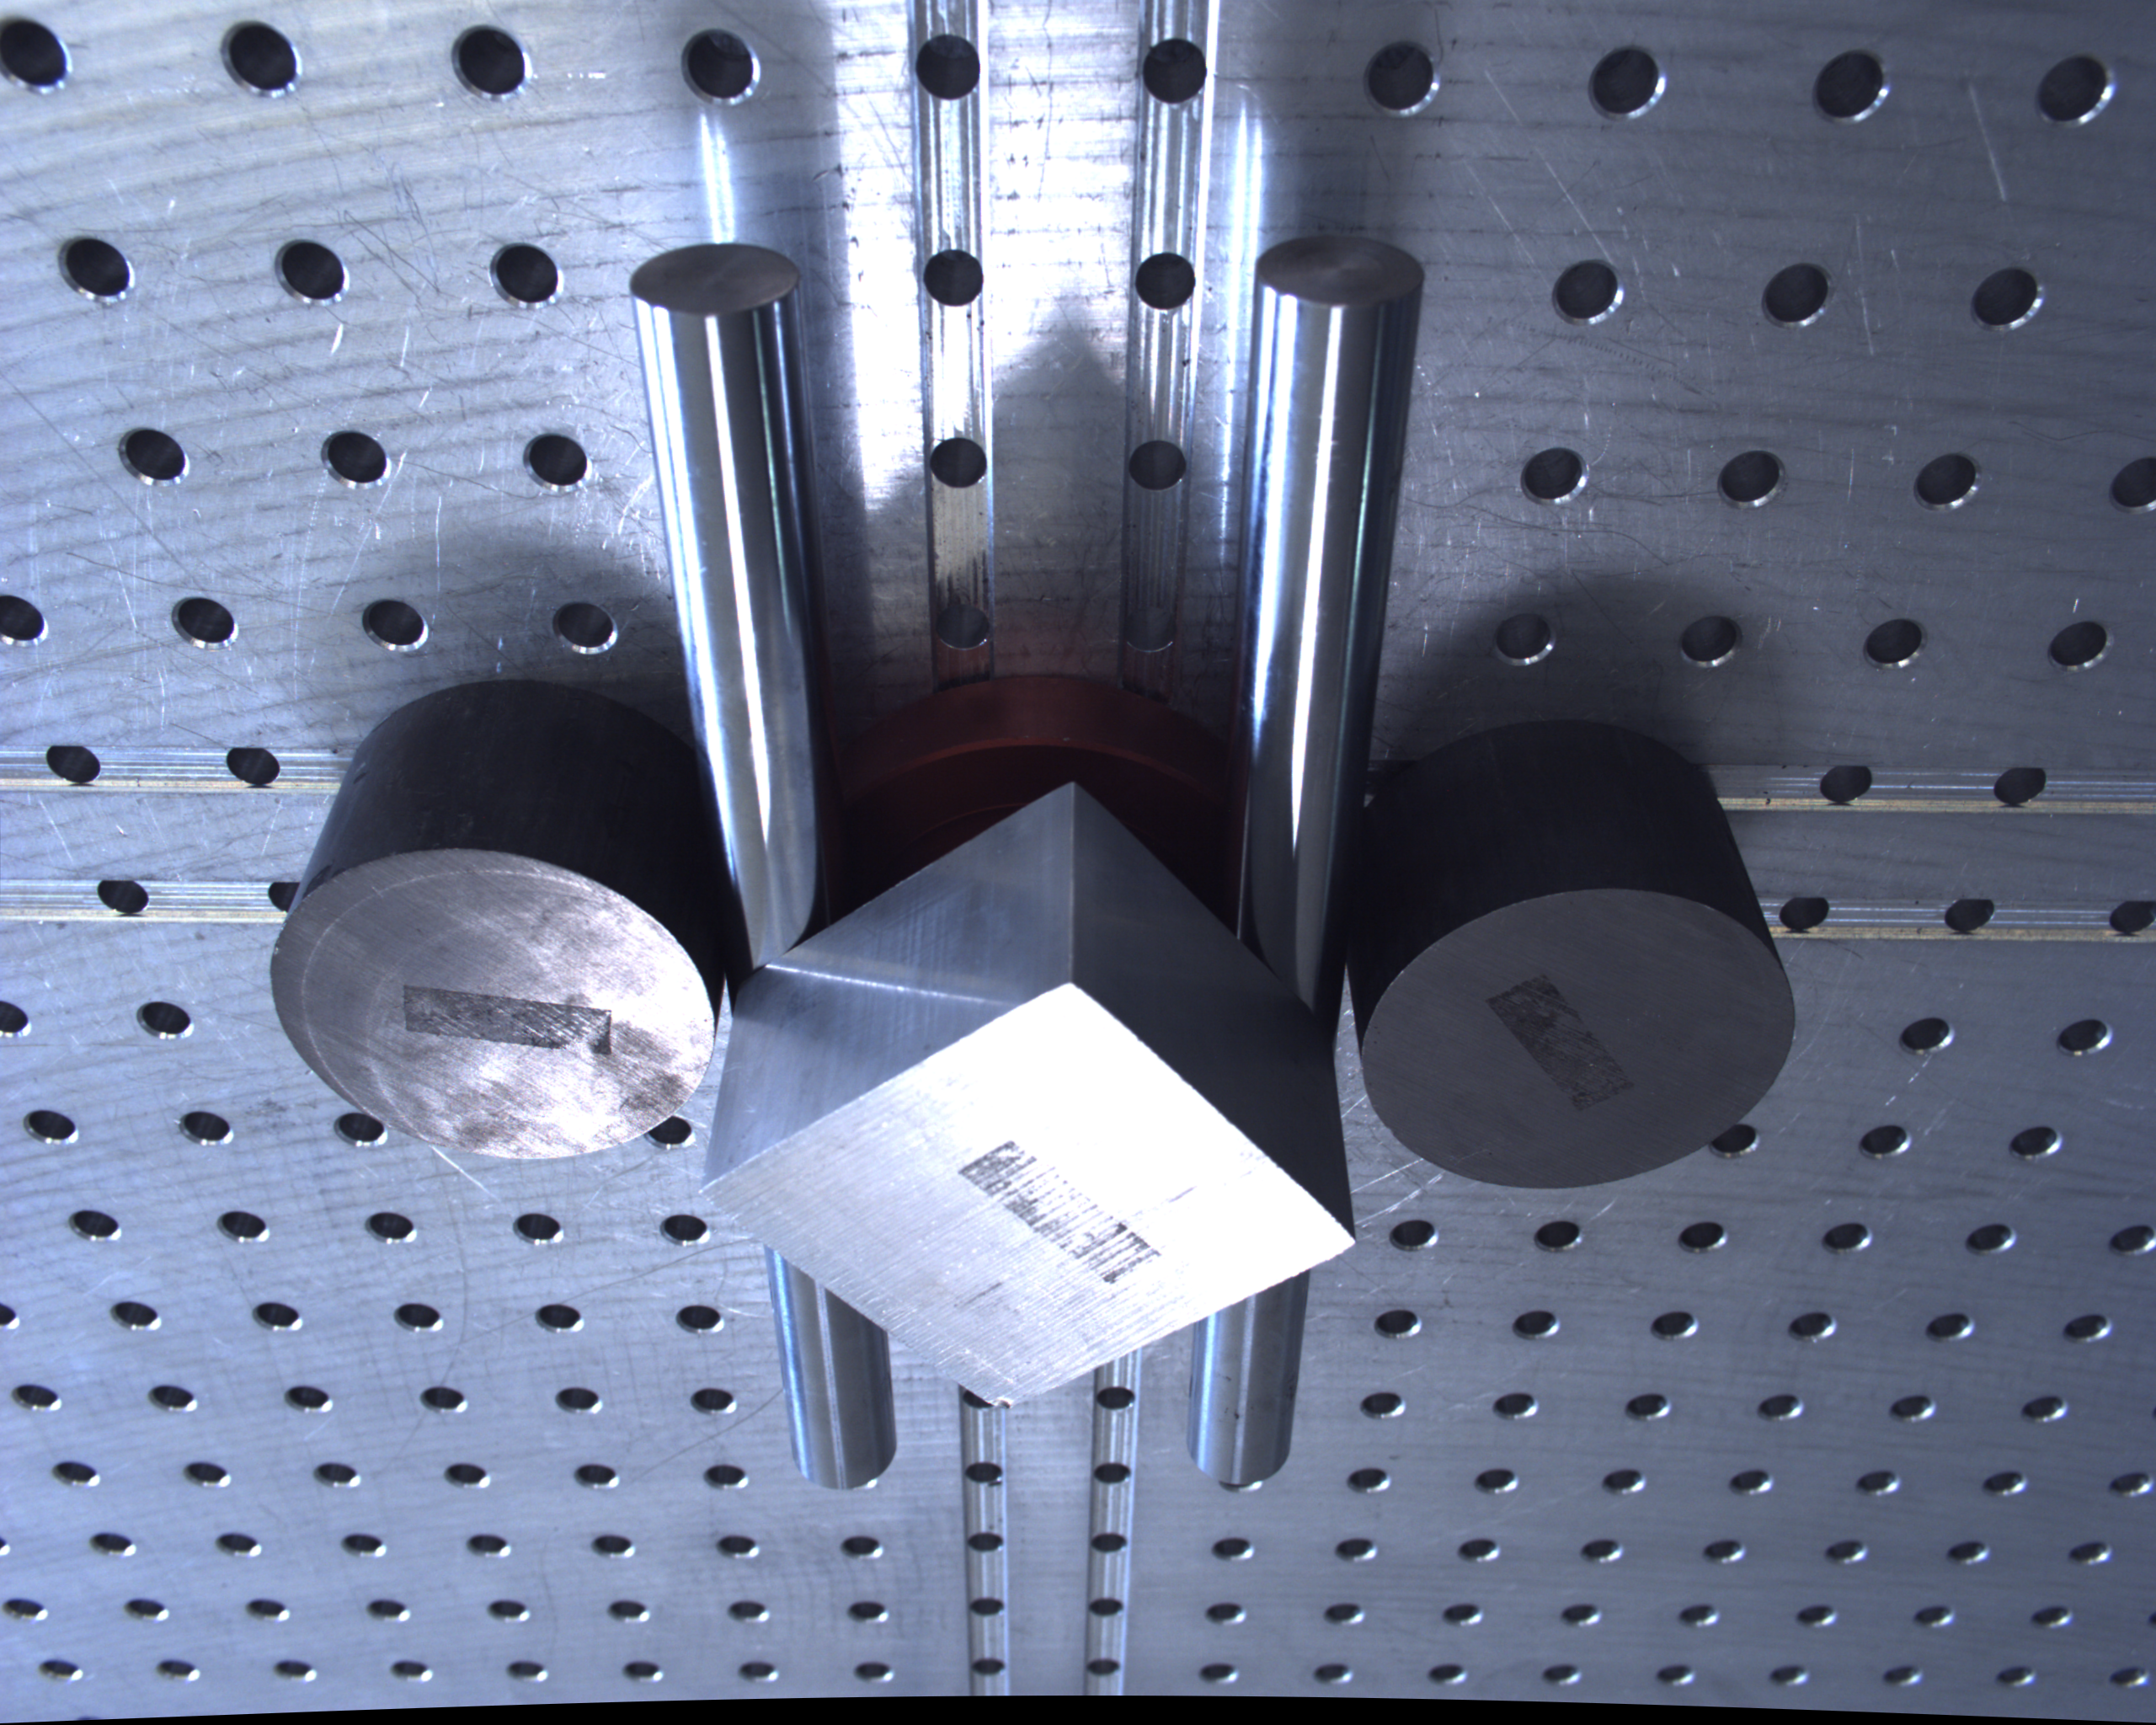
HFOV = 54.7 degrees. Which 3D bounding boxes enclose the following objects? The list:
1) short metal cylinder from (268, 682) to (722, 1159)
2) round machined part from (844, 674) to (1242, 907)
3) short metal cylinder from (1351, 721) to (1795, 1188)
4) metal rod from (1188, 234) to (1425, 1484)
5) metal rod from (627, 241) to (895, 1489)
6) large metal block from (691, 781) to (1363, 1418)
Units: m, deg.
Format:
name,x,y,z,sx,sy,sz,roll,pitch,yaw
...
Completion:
name,x,y,z,sx,sy,sz,roll,pitch,yaw
short metal cylinder,-0.108,0.012,0.404,0.081,0.050,0.079,0,130,0
round machined part,-0.008,0.014,0.413,0.099,0.042,0.097,0,130,0
short metal cylinder,0.094,0.019,0.411,0.081,0.050,0.079,0,130,0
metal rod,0.039,0.025,0.406,0.025,0.025,0.298,0,130,0
metal rod,-0.055,0.027,0.406,0.025,0.025,0.298,0,130,0
large metal block,-0.008,0.045,0.371,0.080,0.050,0.080,-31,124,23
